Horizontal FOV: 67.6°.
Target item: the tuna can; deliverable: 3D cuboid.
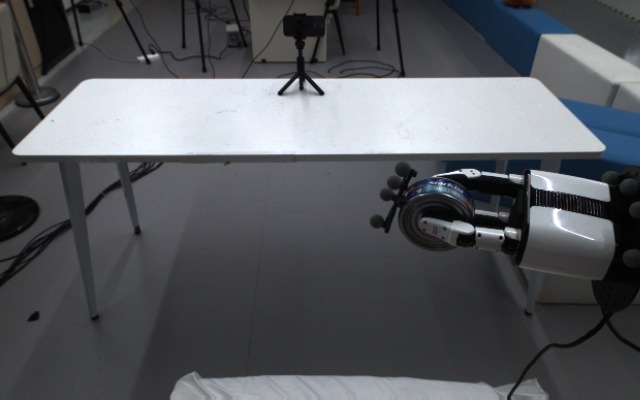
[{"bbox_3d":[0.137,0.015,0.563,0.085,0.085,0.034,9,34,9],"label":"tuna can"}]
